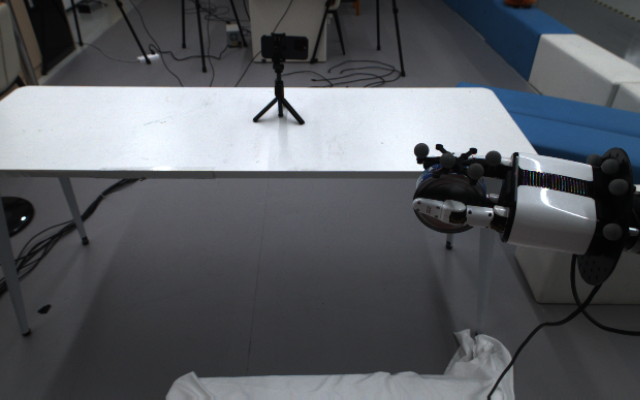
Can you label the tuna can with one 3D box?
[{"bbox_3d":[0.159,-0.007,0.588,0.085,0.085,0.034,10,34,11],"label":"tuna can"}]
